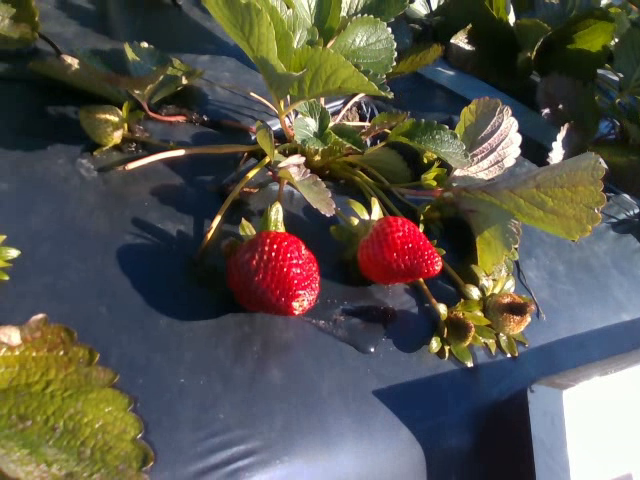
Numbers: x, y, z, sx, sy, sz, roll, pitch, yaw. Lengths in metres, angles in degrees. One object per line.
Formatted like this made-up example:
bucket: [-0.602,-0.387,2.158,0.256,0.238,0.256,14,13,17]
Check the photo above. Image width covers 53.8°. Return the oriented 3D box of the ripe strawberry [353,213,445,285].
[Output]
ripe strawberry: [0.043,0.008,0.321,0.049,0.042,0.039,24,-21,39]

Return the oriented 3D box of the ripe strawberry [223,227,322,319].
ripe strawberry: [-0.019,0.019,0.283,0.050,0.045,0.050,13,16,-29]
